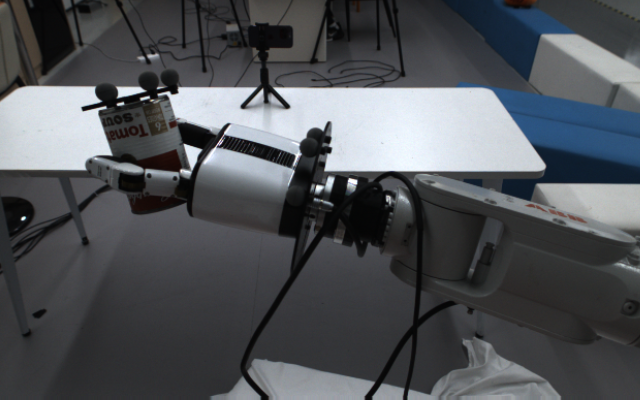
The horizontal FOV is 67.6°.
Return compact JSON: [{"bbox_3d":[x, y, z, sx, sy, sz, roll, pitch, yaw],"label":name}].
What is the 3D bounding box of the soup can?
[{"bbox_3d":[-0.164,-0.044,0.476,0.067,0.101,0.067,-12,17,4],"label":"soup can"}]
